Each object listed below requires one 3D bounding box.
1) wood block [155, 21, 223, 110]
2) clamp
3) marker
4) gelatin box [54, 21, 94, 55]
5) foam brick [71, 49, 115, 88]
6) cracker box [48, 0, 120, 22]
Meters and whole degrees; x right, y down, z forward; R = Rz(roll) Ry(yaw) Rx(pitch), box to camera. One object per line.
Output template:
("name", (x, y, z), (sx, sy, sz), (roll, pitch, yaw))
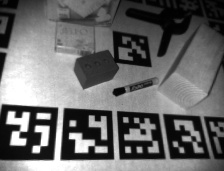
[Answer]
("wood block", (0.203, -0.054, 0.540), (0.090, 0.091, 0.207), (36, 58, 5))
("clamp", (0.158, -0.184, 0.612), (0.204, 0.036, 0.164), (-26, 76, -25))
("marker", (0.039, 0.003, 0.498), (0.122, 0.019, 0.019), (-14, 72, -22))
("gelatin box", (-0.088, -0.110, 0.509), (0.090, 0.030, 0.073), (4, 67, -15))
("foam brick", (-0.044, -0.038, 0.474), (0.079, 0.051, 0.052), (-19, 74, -23))
("cracker box", (-0.052, -0.241, 0.468), (0.165, 0.213, 0.071), (2, 64, -17))
